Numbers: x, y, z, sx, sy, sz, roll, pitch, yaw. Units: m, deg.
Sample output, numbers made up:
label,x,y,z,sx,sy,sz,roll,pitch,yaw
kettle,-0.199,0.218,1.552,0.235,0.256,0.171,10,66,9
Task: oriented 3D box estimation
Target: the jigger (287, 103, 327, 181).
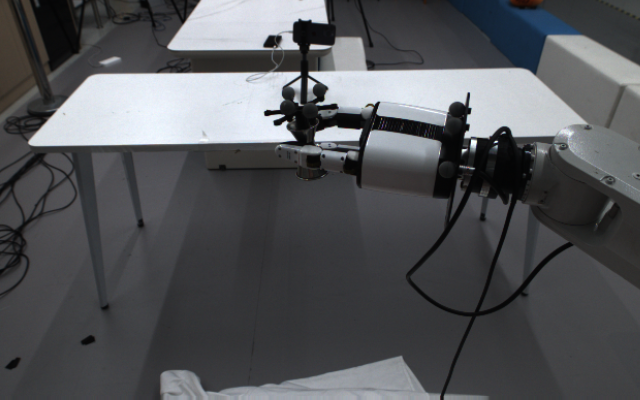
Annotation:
label,x,y,z,sx,sy,sz,roll,pitch,yaw
jigger,-0.013,-0.066,0.606,0.043,0.071,0.043,-9,31,5
